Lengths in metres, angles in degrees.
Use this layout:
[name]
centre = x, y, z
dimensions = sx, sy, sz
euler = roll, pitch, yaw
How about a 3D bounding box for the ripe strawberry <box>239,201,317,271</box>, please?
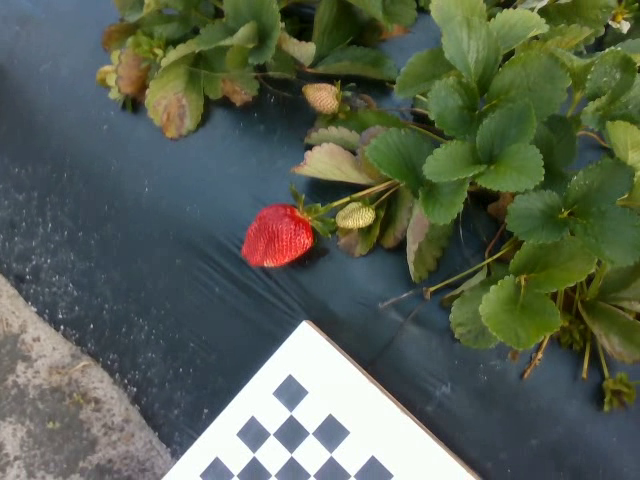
[ripe strawberry]
centre = -0.043, -0.004, 0.503
dimensions = 0.067, 0.074, 0.039
euler = 45, 0, 17
